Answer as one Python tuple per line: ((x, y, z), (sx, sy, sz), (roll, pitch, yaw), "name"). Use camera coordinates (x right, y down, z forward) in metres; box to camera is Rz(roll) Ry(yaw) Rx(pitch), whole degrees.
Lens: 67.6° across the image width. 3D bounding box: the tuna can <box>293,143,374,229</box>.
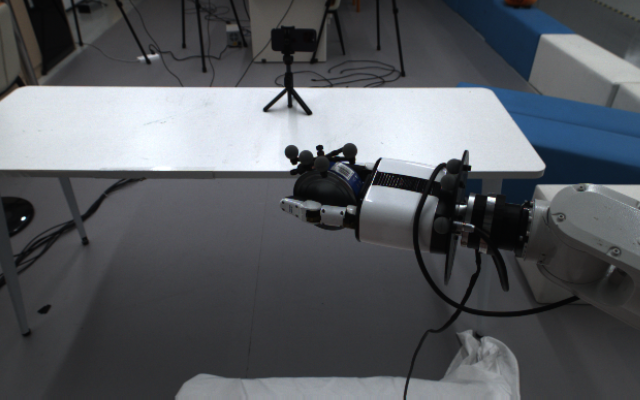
((0.014, -0.008, 0.605), (0.085, 0.085, 0.034), (17, 37, 20), "tuna can")
